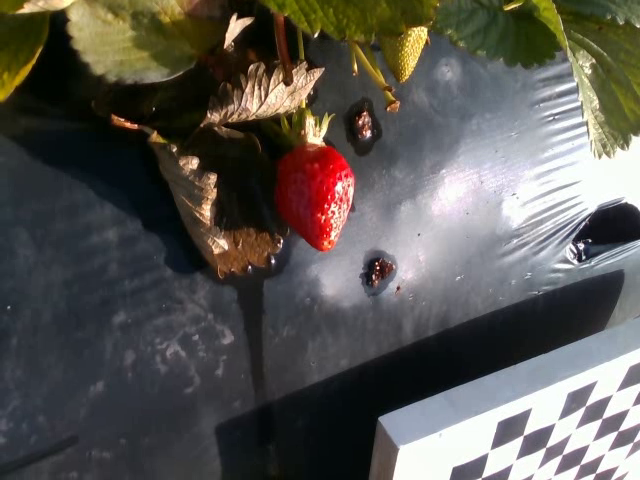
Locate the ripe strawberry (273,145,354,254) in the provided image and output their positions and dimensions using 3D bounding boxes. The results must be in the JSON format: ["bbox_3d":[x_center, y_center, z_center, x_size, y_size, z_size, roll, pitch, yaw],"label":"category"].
[{"bbox_3d":[0.000,-0.008,0.226,0.046,0.054,0.037,5,-16,-36],"label":"ripe strawberry"}]
